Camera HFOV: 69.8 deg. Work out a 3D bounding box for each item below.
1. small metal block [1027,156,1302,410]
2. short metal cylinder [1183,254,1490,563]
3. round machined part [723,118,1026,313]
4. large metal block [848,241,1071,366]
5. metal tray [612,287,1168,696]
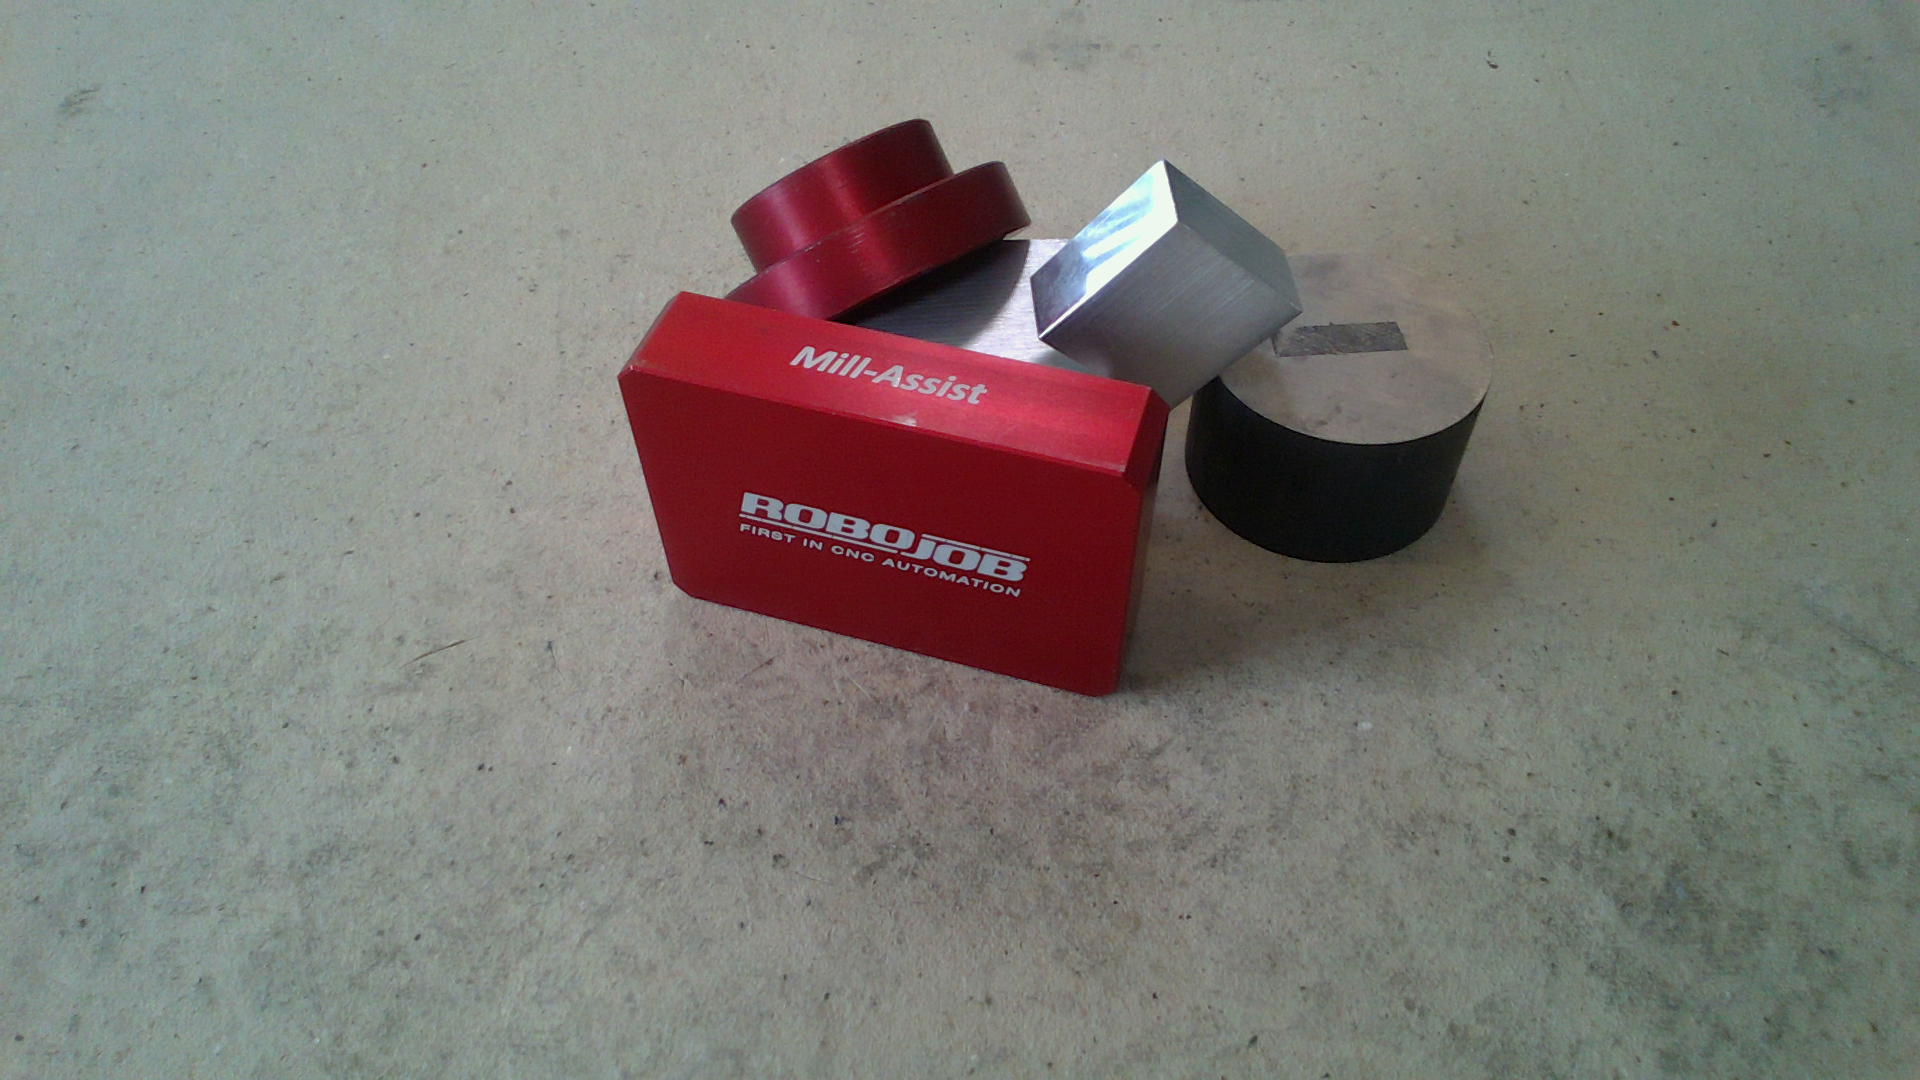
[{"bbox_3d":[0.055,-0.067,0.372,0.050,0.050,0.025,26,43,-34],"label":"small metal block"},{"bbox_3d":[0.110,-0.040,0.410,0.080,0.050,0.080,0,50,0],"label":"short metal cylinder"},{"bbox_3d":[-0.031,-0.095,0.423,0.098,0.098,0.042,-30,100,-23],"label":"round machined part"},{"bbox_3d":[0.001,-0.044,0.414,0.080,0.050,0.080,-1,50,-1],"label":"large metal block"},{"bbox_3d":[-0.017,-0.011,0.357,0.130,0.090,0.030,13,51,11],"label":"metal tray"}]
